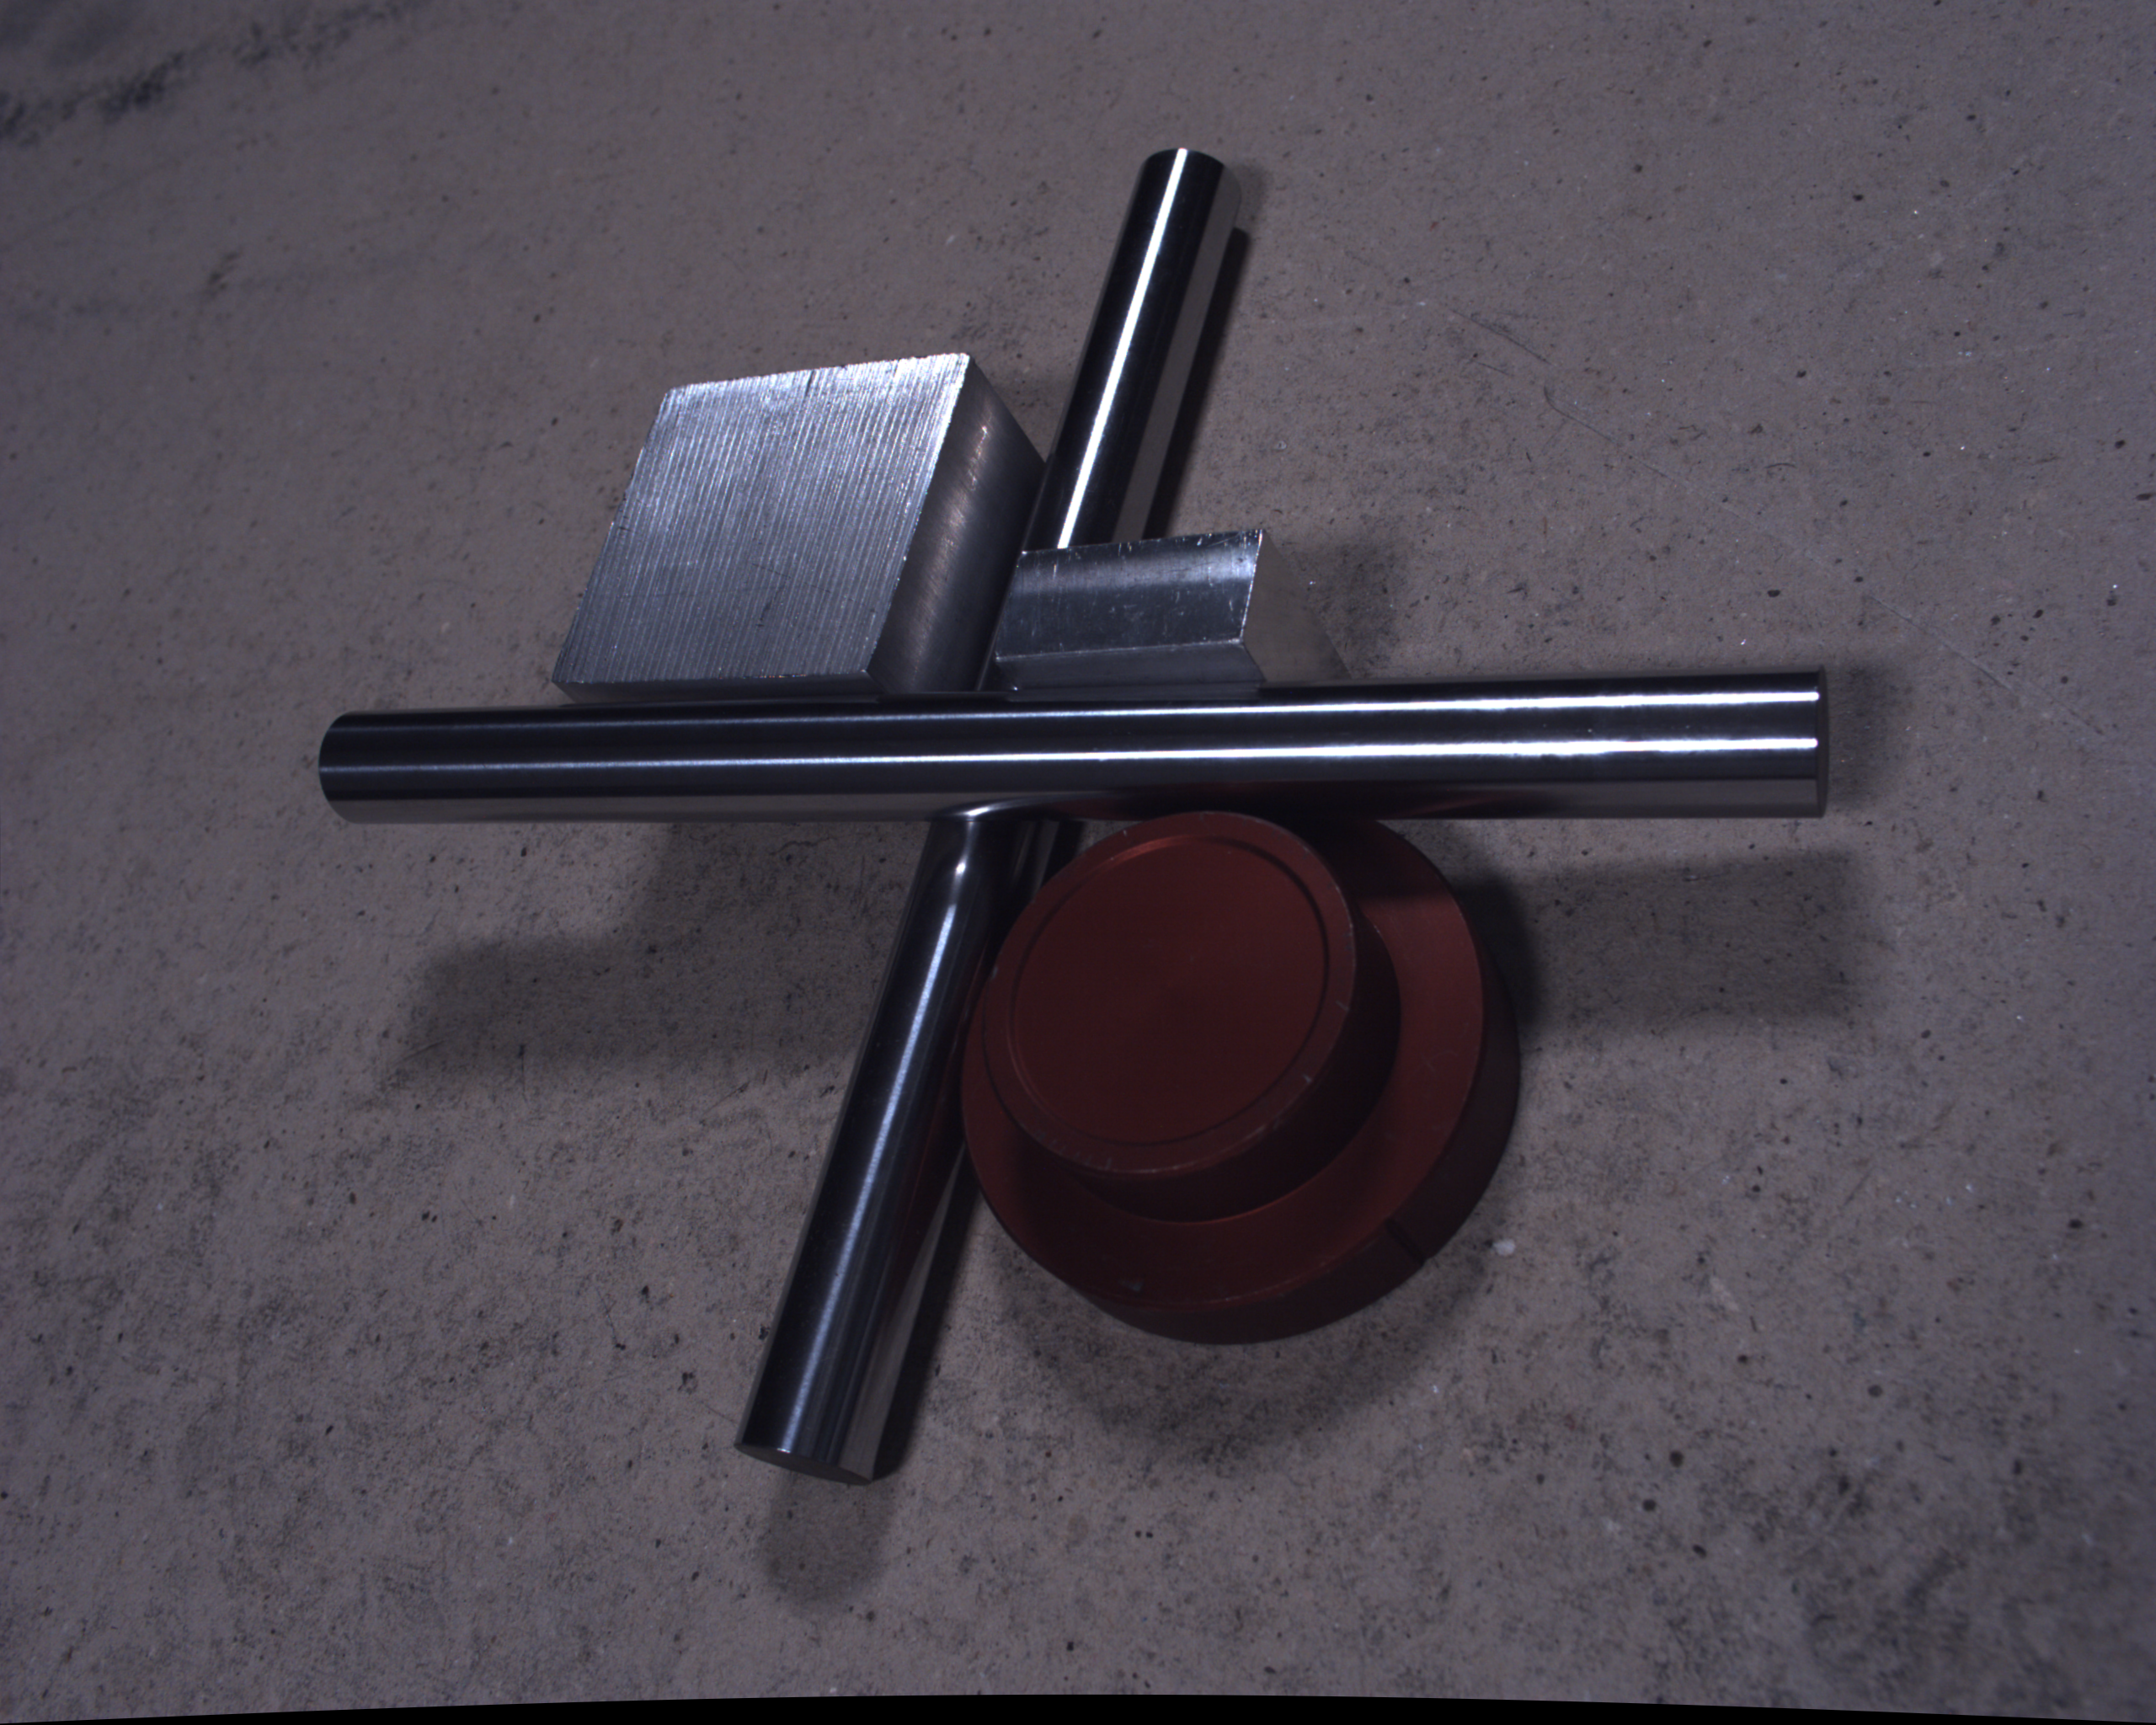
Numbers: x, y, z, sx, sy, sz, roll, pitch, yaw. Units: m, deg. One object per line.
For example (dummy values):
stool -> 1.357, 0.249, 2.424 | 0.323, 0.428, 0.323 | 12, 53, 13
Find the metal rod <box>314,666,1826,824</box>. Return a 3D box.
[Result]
metal rod -> -0.018, -0.020, 0.394 | 0.301, 0.025, 0.025 | 0, 62, 23

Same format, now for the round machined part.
round machined part -> 0.022, 0.030, 0.362 | 0.098, 0.042, 0.098 | -13, 56, 20

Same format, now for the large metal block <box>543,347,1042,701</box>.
large metal block -> -0.057, -0.061, 0.454 | 0.080, 0.050, 0.080 | 1, 62, 28

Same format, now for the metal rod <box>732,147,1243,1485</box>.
metal rod -> -0.011, -0.026, 0.426 | 0.025, 0.025, 0.300 | 2, 62, 29

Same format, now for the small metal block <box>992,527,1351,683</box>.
small metal block -> 0.019, -0.037, 0.401 | 0.050, 0.050, 0.025 | -1, 61, 27
